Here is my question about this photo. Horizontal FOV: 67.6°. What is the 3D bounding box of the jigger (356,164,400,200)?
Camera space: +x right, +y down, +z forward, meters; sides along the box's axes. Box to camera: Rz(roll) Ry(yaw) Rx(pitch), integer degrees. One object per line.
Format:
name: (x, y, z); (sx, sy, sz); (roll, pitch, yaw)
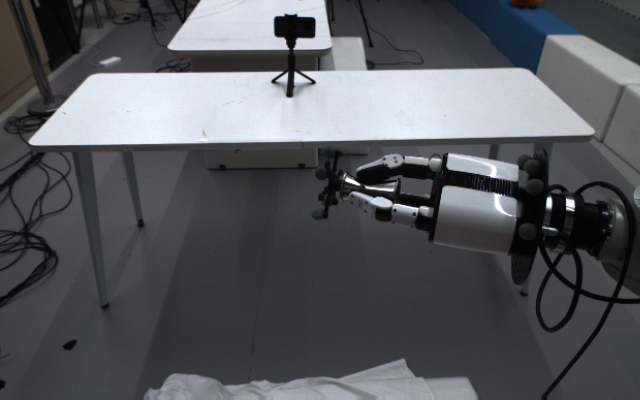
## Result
jigger: (0.069, -0.014, 0.604); (0.071, 0.043, 0.043); (11, 36, 15)
